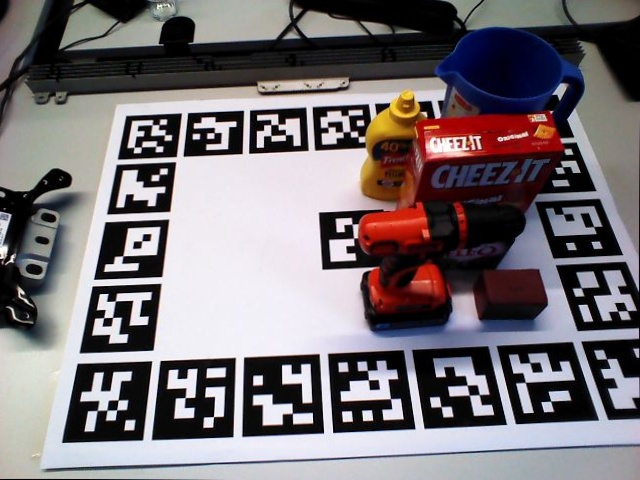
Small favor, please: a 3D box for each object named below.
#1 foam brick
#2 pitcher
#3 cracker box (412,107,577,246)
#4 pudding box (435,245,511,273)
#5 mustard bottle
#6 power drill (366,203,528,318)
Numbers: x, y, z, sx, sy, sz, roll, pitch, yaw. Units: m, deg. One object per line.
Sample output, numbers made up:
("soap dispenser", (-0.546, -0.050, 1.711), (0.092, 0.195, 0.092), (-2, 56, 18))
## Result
("foam brick", (0.264, 0.075, 0.691), (0.078, 0.051, 0.052), (0, 62, 2))
("pitcher", (0.252, -0.157, 0.719), (0.189, 0.243, 0.132), (2, 60, 5))
("cracker box", (0.209, -0.064, 0.673), (0.164, 0.214, 0.071), (-5, 58, 2))
("pudding box", (0.204, 0.005, 0.695), (0.114, 0.090, 0.038), (-3, 58, 4))
("mustard bottle", (0.120, -0.145, 0.730), (0.096, 0.192, 0.058), (9, 62, 7))
("power drill", (0.142, 0.026, 0.606), (0.185, 0.188, 0.057), (-3, 57, -1))
